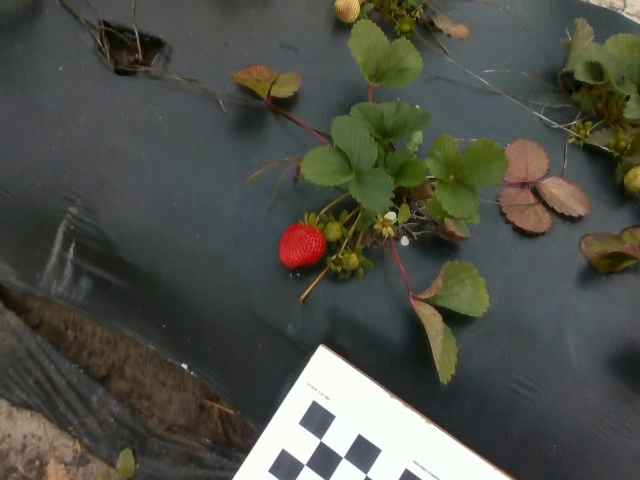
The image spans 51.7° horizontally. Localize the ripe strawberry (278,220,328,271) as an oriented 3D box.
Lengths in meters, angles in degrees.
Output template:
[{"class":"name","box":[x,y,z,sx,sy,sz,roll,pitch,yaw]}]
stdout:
[{"class":"ripe strawberry","box":[-0.006,0.002,0.171,0.017,0.018,0.014,-48,-4,-44]}]
